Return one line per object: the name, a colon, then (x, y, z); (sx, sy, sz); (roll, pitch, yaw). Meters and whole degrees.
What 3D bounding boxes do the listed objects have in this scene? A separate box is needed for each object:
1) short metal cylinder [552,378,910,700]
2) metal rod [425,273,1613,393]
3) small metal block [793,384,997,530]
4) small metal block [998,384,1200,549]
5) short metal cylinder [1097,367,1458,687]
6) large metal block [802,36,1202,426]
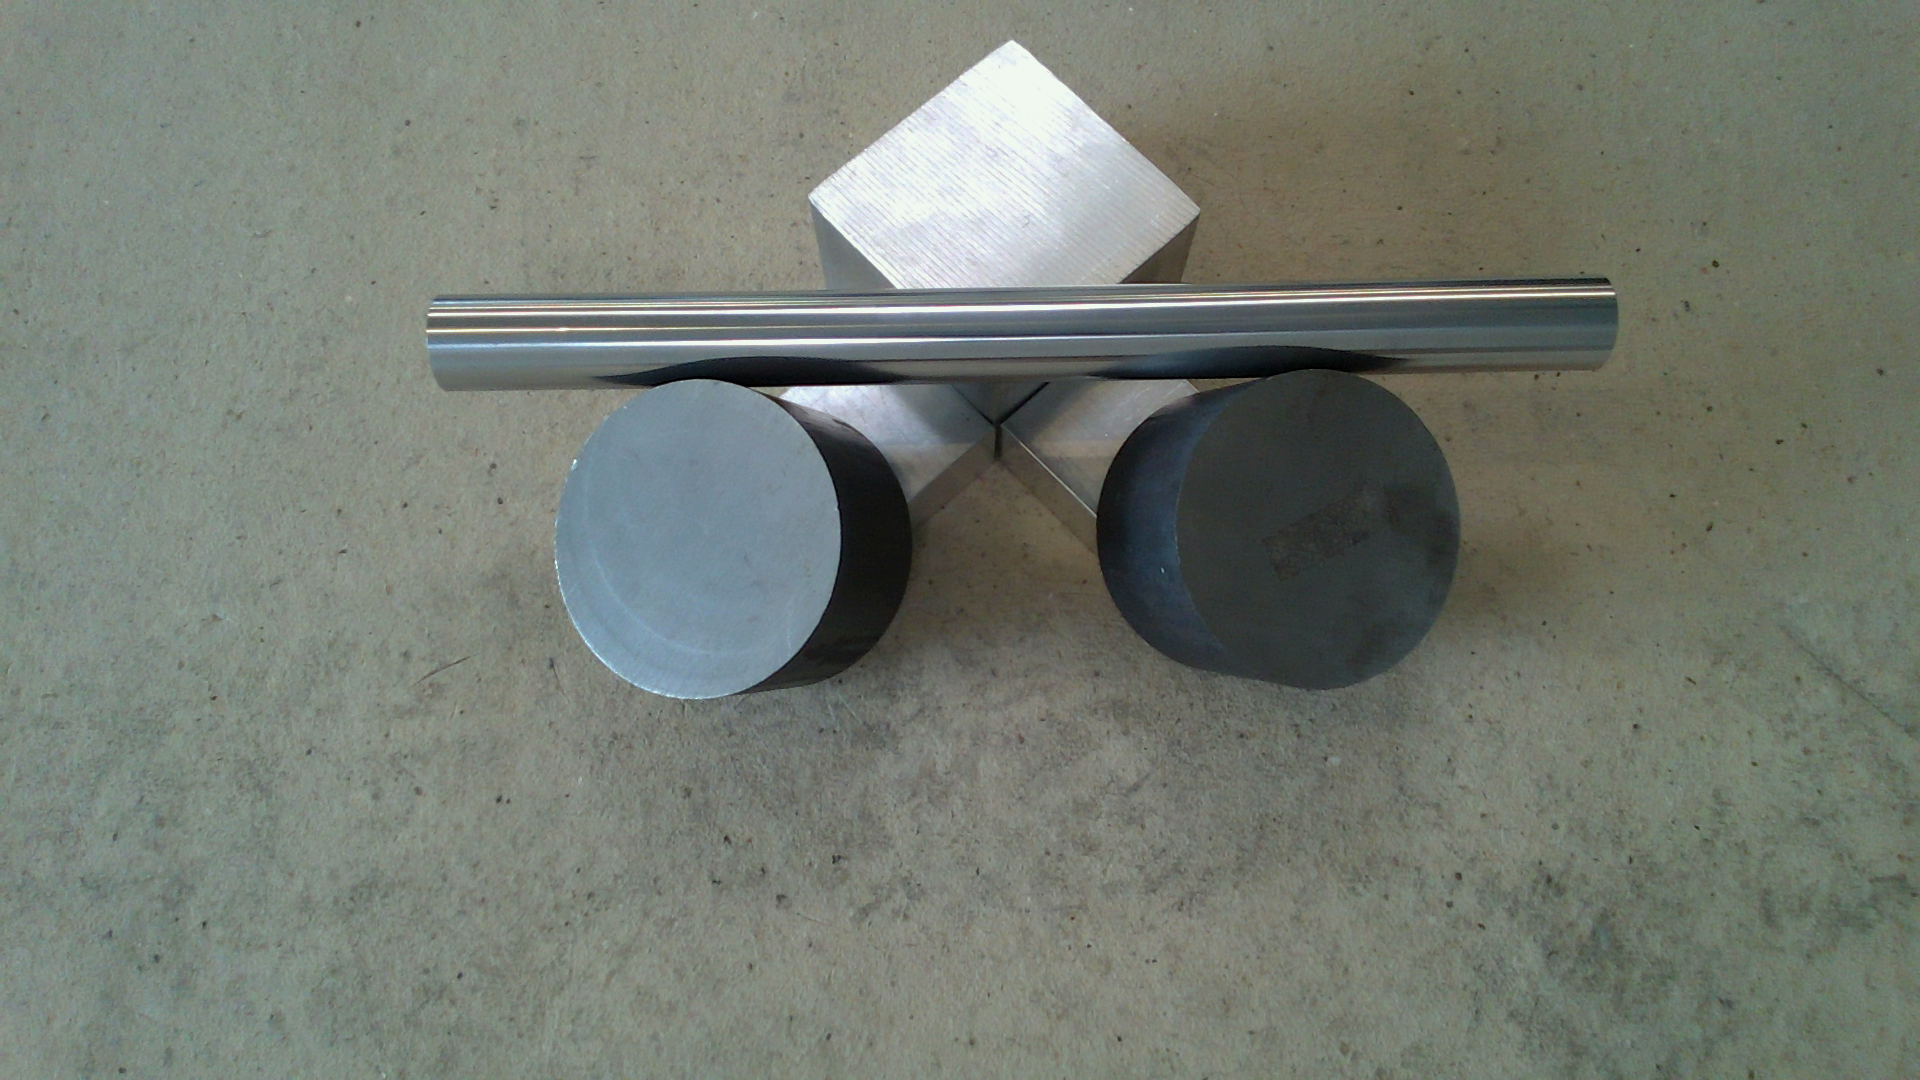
short metal cylinder: (-0.059, 0.001, 0.365); (0.080, 0.050, 0.080); (-1, 87, 18)
metal rod: (0.016, -0.054, 0.359); (0.300, 0.025, 0.025); (-1, 70, -1)
small metal block: (-0.025, -0.030, 0.406); (0.050, 0.025, 0.050); (-41, 75, -15)
small metal block: (0.047, -0.028, 0.405); (0.050, 0.025, 0.050); (-42, 75, -14)
short metal cylinder: (0.083, -0.003, 0.368); (0.080, 0.050, 0.080); (0, 89, -17)
large metal block: (0.012, -0.088, 0.411); (0.080, 0.050, 0.080); (-40, 75, -13)
